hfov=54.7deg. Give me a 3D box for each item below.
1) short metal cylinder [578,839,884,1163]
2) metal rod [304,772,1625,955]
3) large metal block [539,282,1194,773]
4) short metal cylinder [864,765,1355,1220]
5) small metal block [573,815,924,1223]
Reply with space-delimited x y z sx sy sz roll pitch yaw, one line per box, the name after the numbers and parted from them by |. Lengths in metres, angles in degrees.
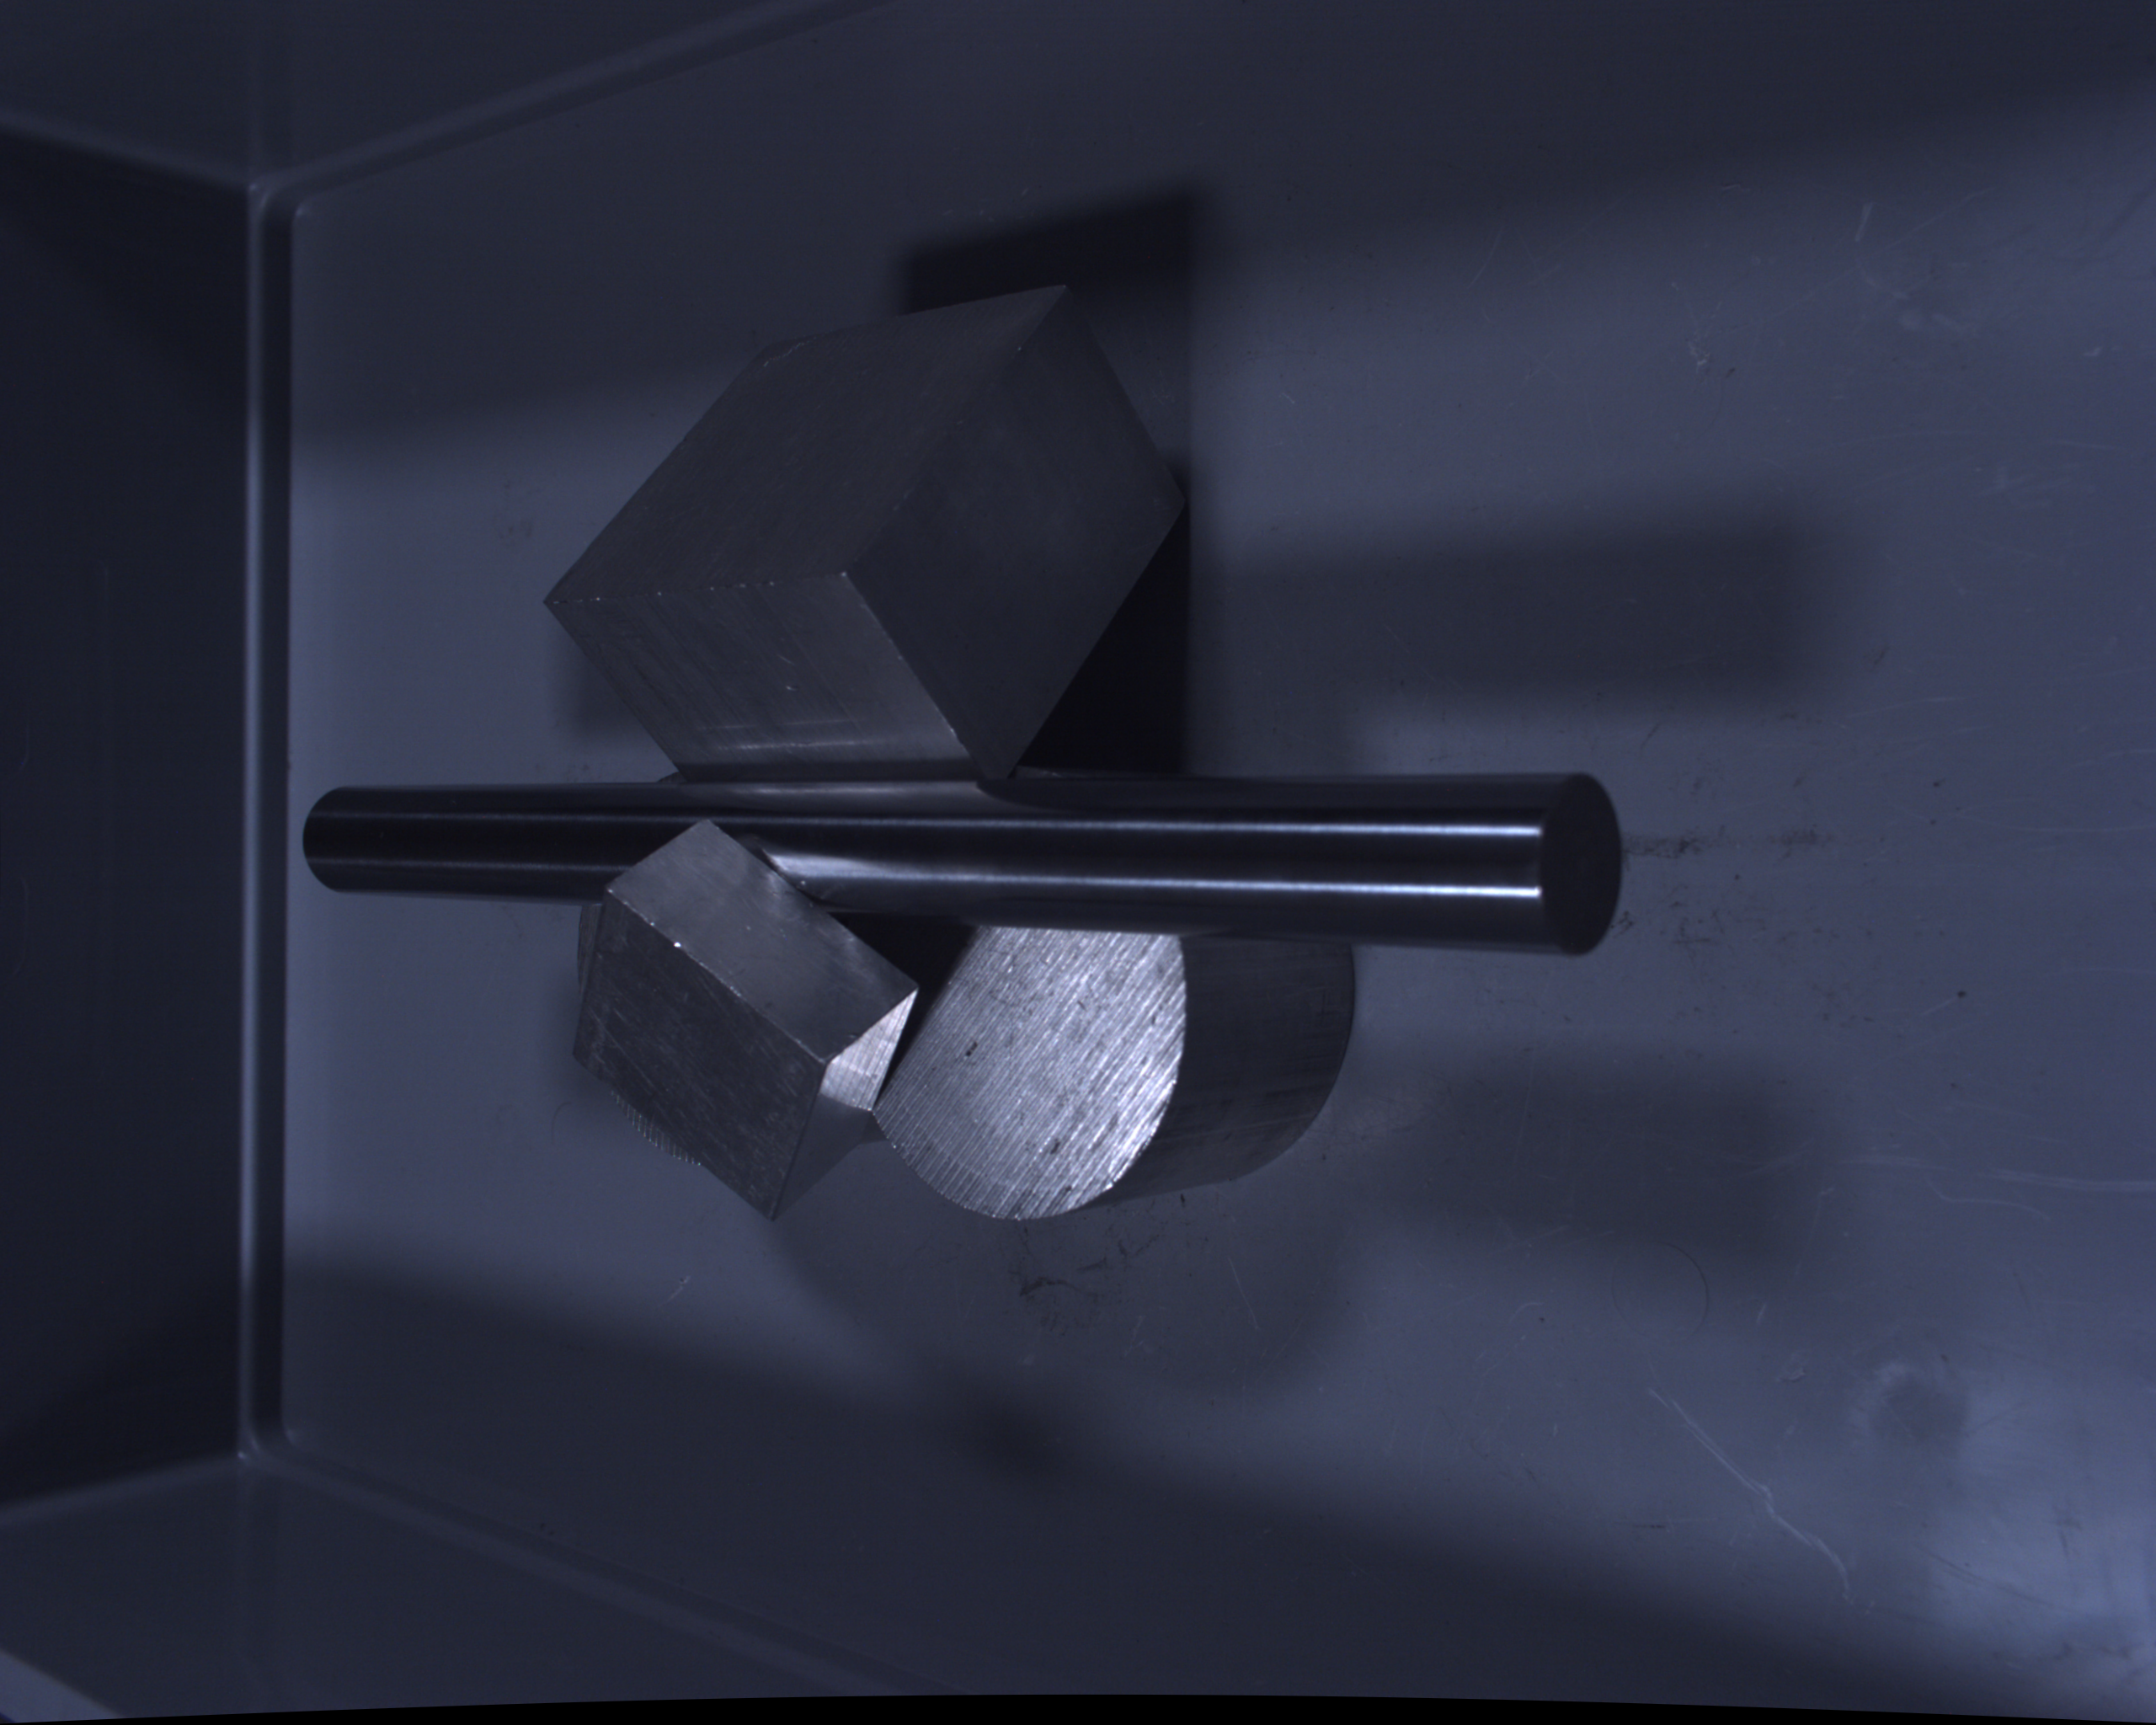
-0.059 0.021 0.435 0.080 0.050 0.079 0 90 39 | short metal cylinder
-0.048 -0.003 0.377 0.300 0.025 0.025 1 91 39 | metal rod
-0.038 -0.059 0.391 0.080 0.050 0.080 1 48 39 | large metal block
0.003 0.022 0.385 0.080 0.050 0.079 0 90 39 | short metal cylinder
-0.060 0.028 0.373 0.050 0.025 0.050 37 136 13 | small metal block
